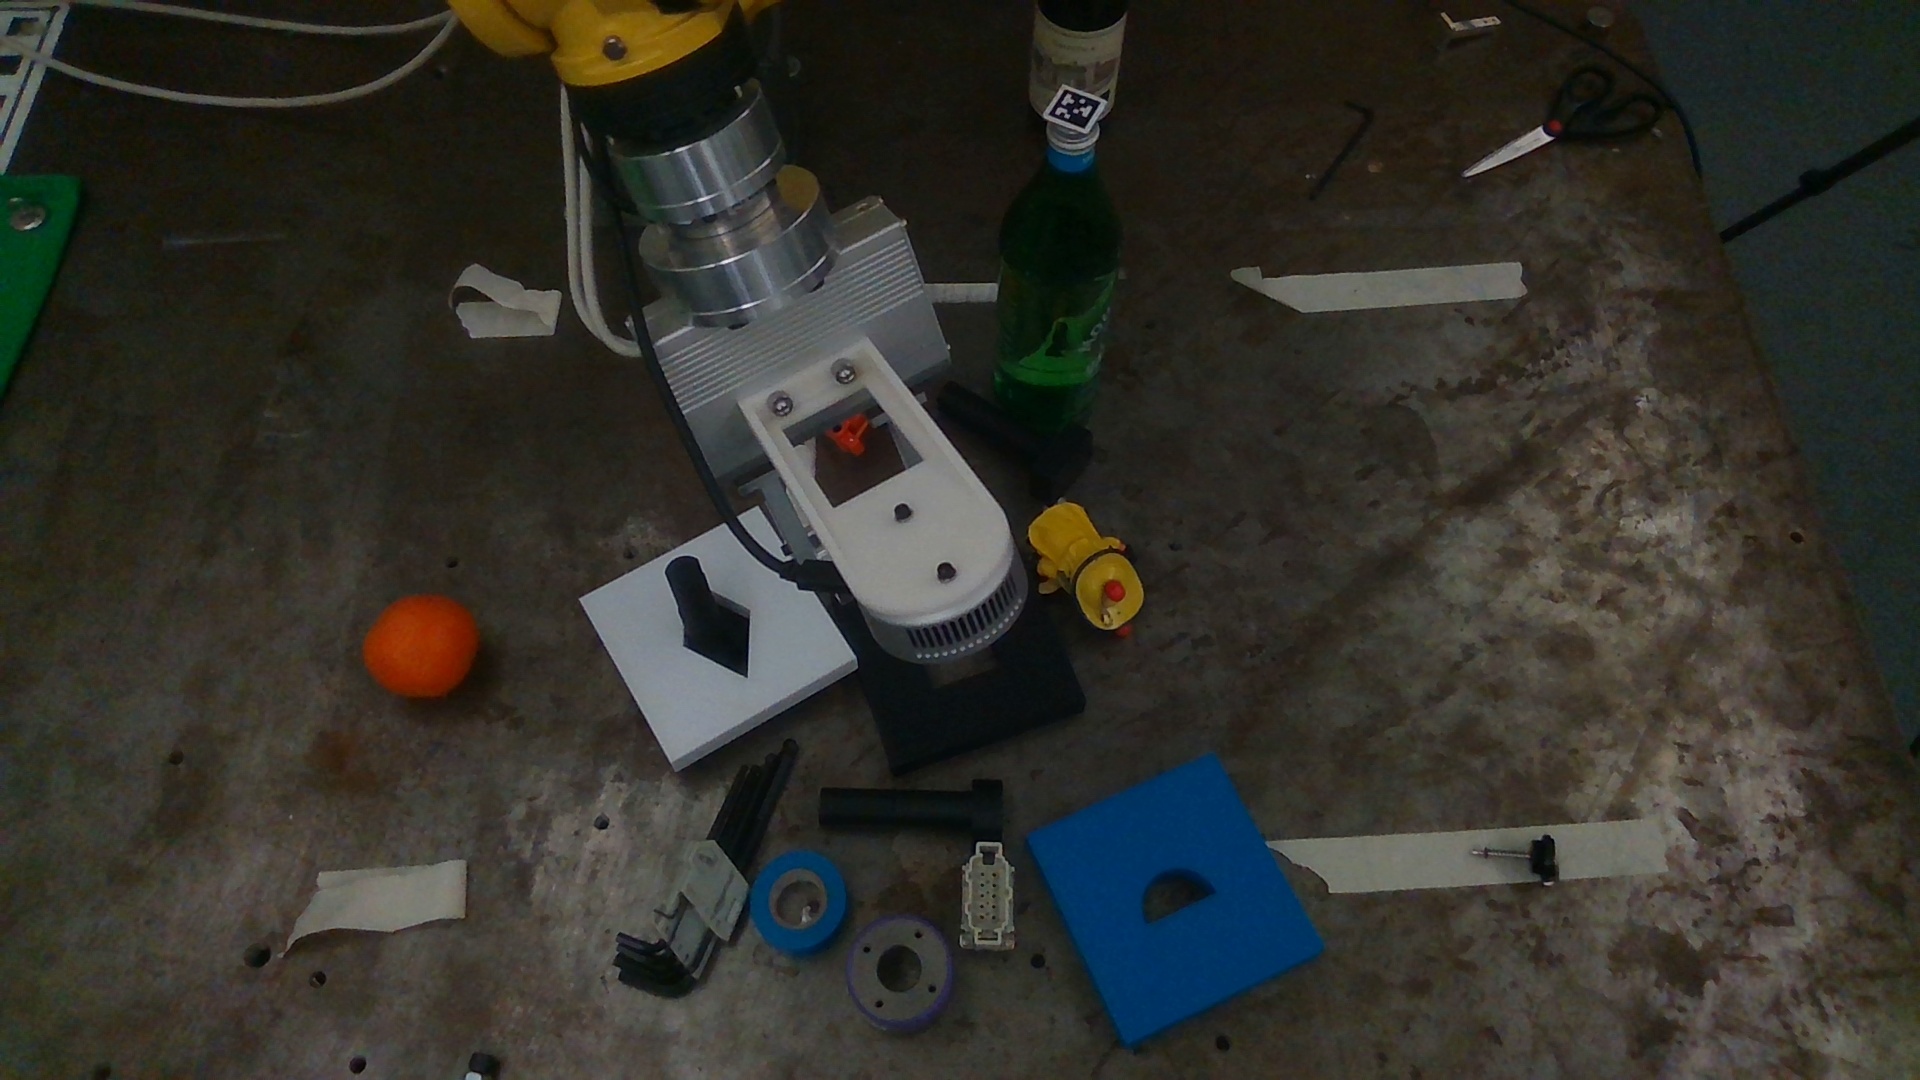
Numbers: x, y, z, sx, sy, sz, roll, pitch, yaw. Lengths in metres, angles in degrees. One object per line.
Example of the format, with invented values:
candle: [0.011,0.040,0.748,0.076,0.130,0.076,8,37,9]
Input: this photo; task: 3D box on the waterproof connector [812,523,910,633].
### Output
waterproof connector: [-0.049,0.020,0.704,0.036,0.038,0.069,-29,22,-6]
